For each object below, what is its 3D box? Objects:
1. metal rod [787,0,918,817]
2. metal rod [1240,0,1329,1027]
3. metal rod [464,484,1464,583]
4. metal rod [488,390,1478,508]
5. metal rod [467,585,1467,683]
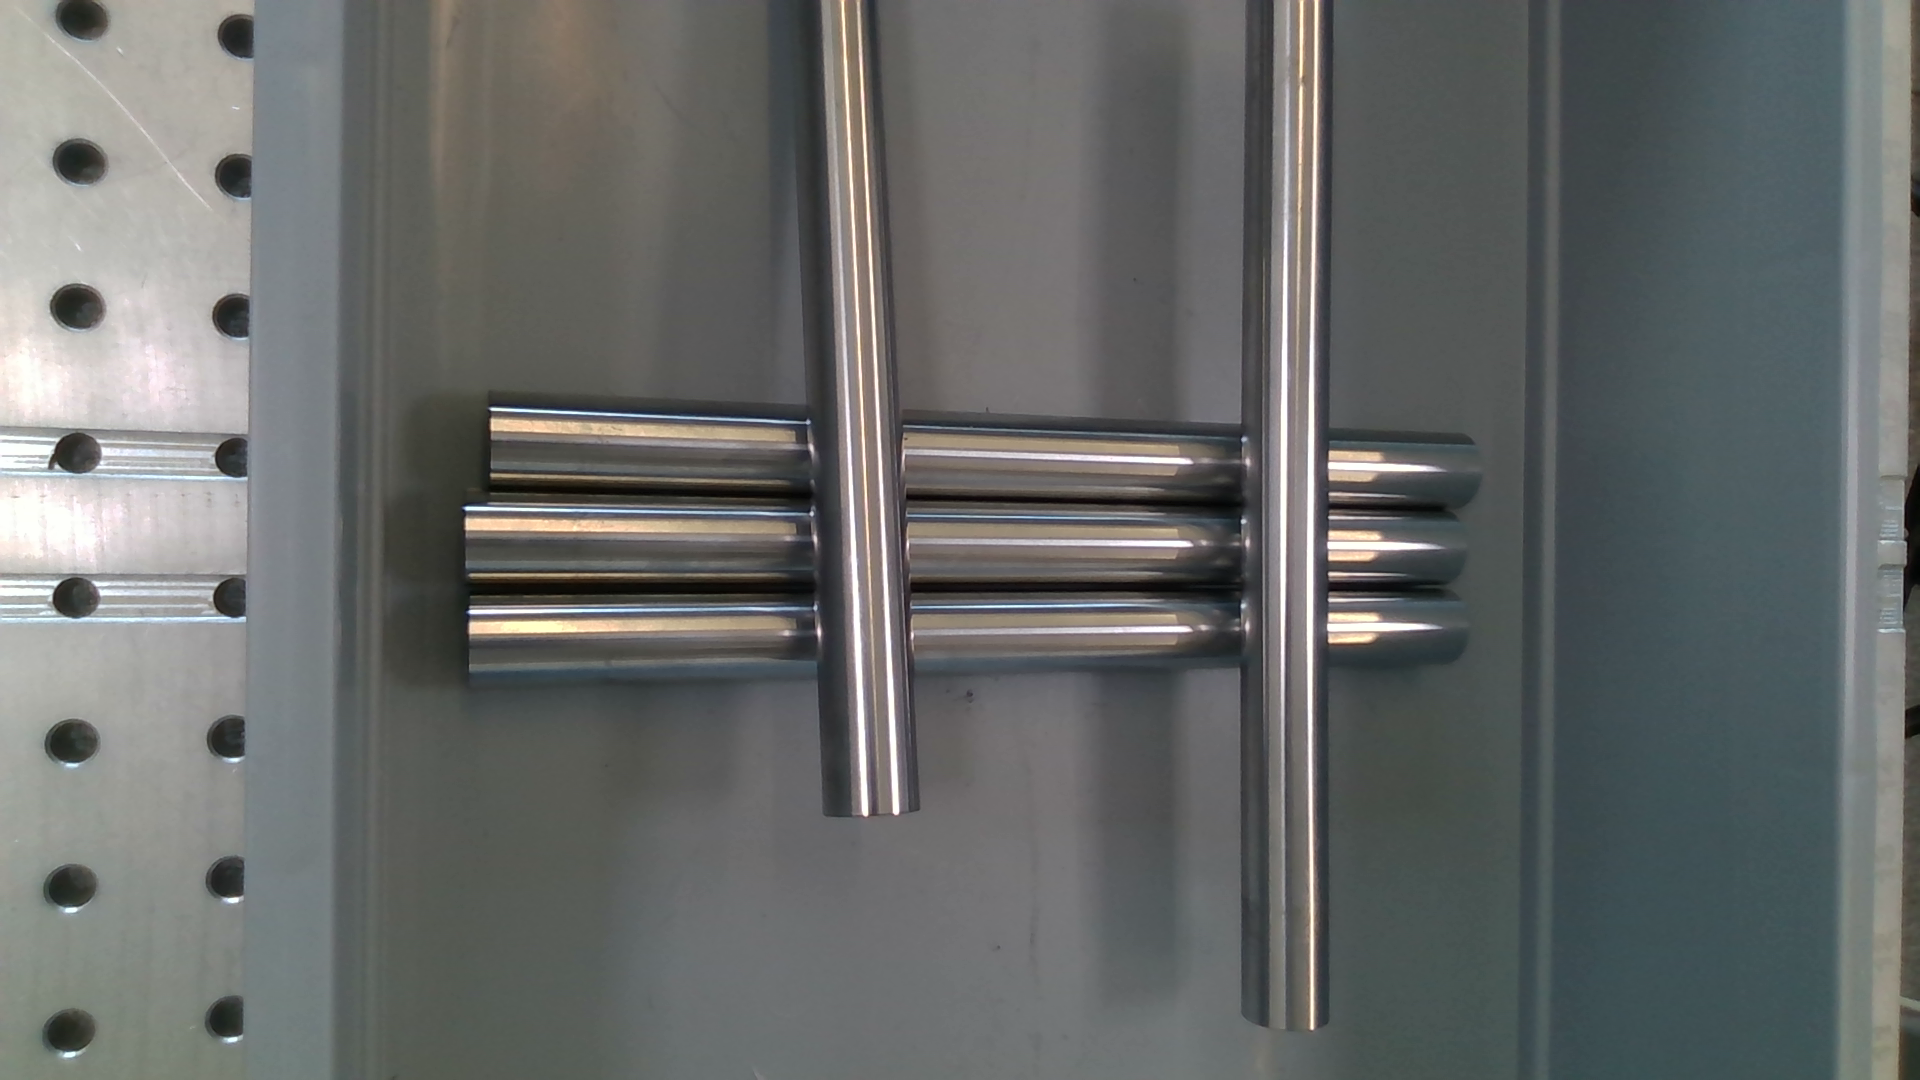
[{"bbox_3d":[-0.031,-0.080,0.363,0.025,0.025,0.300,-1,83,-20],"label":"metal rod"},{"bbox_3d":[0.095,-0.012,0.401,0.025,0.025,0.300,0,90,-20],"label":"metal rod"},{"bbox_3d":[0.016,0.000,0.400,0.300,0.025,0.025,1,90,-20],"label":"metal rod"},{"bbox_3d":[0.021,-0.024,0.402,0.300,0.025,0.025,1,90,-20],"label":"metal rod"},{"bbox_3d":[0.017,0.026,0.399,0.300,0.025,0.025,1,90,-20],"label":"metal rod"}]
